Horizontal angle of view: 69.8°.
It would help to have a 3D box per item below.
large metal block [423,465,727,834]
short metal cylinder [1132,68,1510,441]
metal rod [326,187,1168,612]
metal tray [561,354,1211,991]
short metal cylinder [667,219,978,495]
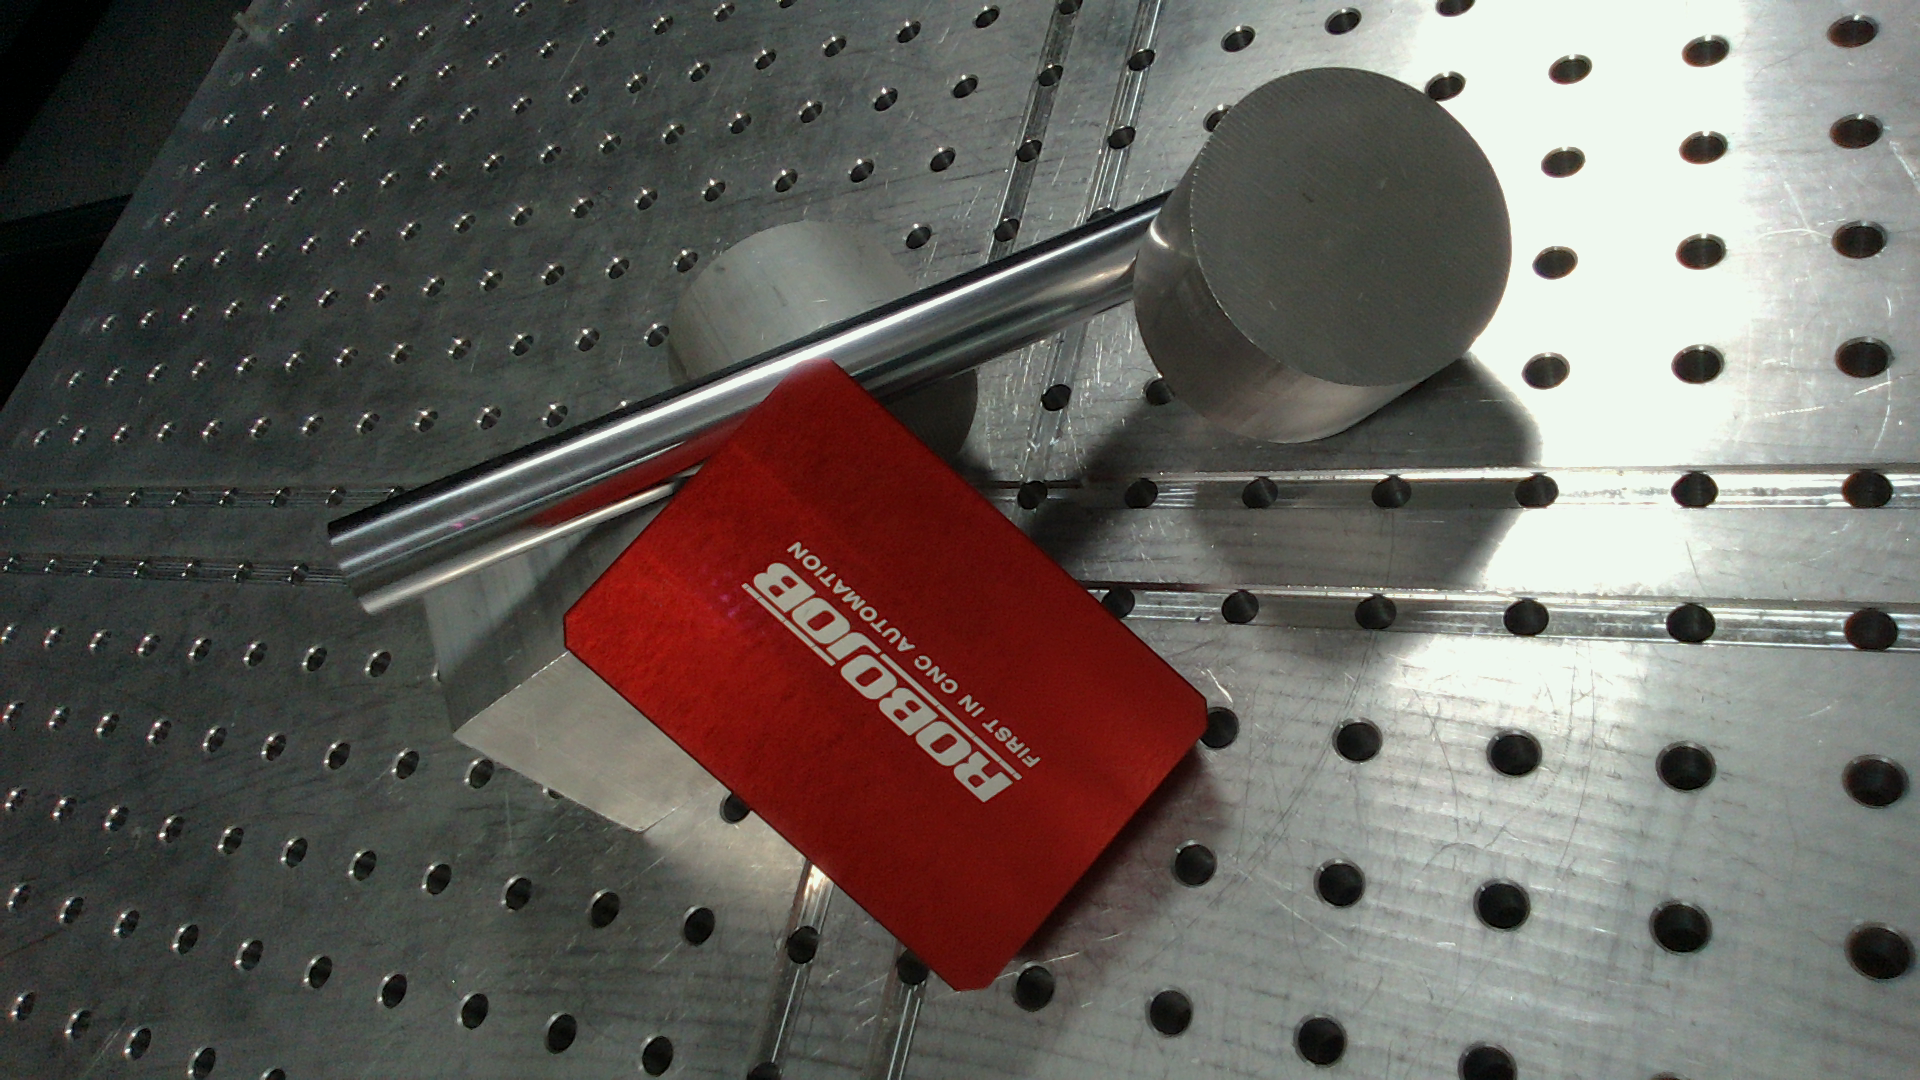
[{"bbox_3d":[-0.089,0.029,0.391,0.080,0.080,0.050,-35,51,6],"label":"large metal block"},{"bbox_3d":[0.089,-0.070,0.350,0.080,0.050,0.080,2,79,-8],"label":"short metal cylinder"},{"bbox_3d":[-0.015,-0.053,0.368,0.301,0.025,0.025,-24,50,-13],"label":"metal rod"},{"bbox_3d":[-0.017,0.031,0.332,0.130,0.030,0.090,42,84,-3],"label":"metal tray"},{"bbox_3d":[-0.041,-0.048,0.413,0.080,0.080,0.050,-38,51,3],"label":"short metal cylinder"}]
